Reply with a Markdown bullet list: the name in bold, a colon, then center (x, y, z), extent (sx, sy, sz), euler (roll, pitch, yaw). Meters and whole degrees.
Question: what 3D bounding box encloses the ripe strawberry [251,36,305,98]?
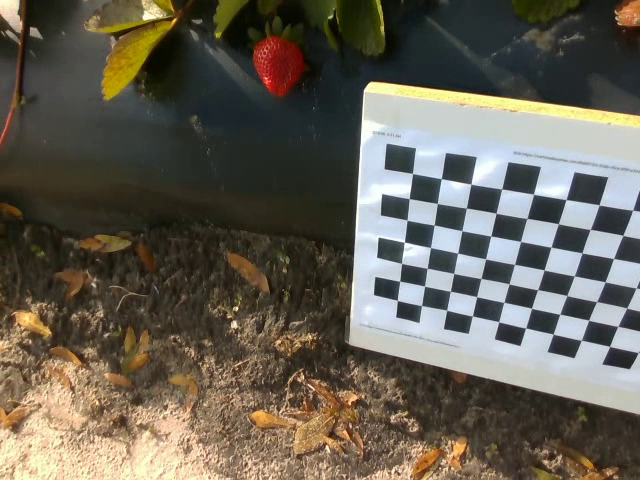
- **ripe strawberry**: center (-0.027, -0.111, 0.404), extent (0.041, 0.047, 0.041), euler (-9, -25, 39)
